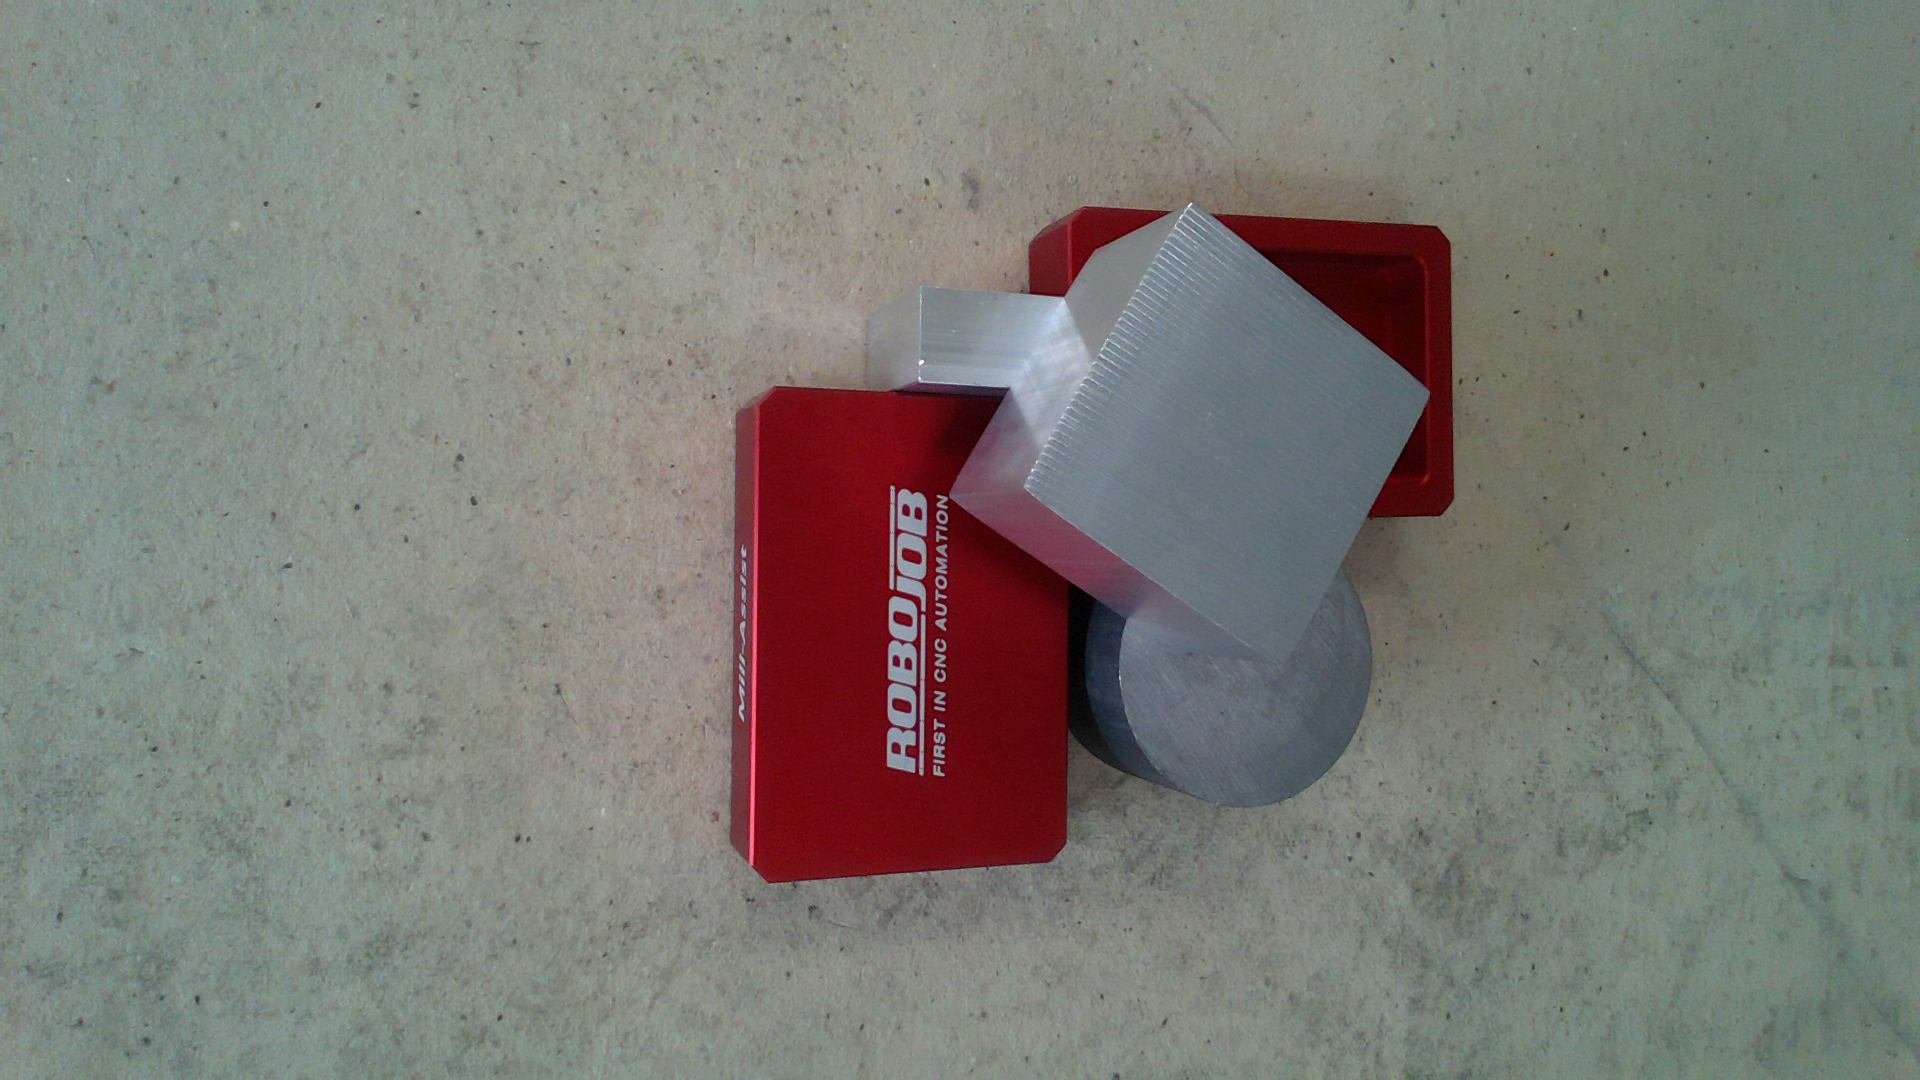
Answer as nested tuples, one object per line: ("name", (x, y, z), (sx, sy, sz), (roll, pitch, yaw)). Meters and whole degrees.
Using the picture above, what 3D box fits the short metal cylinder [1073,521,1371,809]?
("short metal cylinder", (0.072, 0.035, 0.406), (0.080, 0.050, 0.080), (0, 90, -19))

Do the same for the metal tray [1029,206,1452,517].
("metal tray", (0.088, -0.051, 0.423), (0.130, 0.030, 0.090), (-2, 91, -20))

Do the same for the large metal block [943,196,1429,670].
("large metal block", (0.056, -0.024, 0.346), (0.080, 0.050, 0.080), (34, 79, -17))

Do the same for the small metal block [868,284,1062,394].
("small metal block", (0.004, -0.052, 0.382), (0.050, 0.050, 0.025), (1, 90, -20))

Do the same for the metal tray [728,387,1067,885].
("metal tray", (-0.017, 0.025, 0.386), (0.090, 0.030, 0.130), (1, 90, -20))
